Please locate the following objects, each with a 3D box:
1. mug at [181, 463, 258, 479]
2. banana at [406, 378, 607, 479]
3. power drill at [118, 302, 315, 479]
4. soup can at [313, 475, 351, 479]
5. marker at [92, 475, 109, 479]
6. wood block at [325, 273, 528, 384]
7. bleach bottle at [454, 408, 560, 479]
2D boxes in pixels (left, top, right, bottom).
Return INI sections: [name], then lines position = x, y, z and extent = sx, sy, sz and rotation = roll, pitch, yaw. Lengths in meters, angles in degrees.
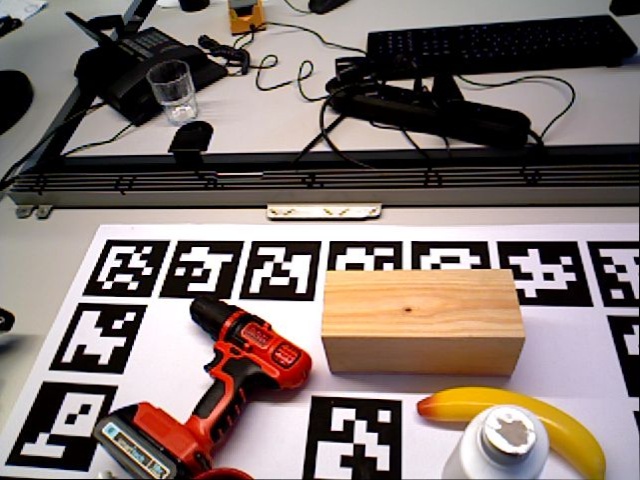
[mug]
position = -0.093, 0.265, 0.483
extent = 0.115, 0.083, 0.093
rotation = -37, 56, -19
[banana]
position = 0.187, 0.177, 0.541
extent = 0.198, 0.039, 0.073
rotation = 14, 67, 17
[power drill]
position = -0.124, 0.167, 0.597
extent = 0.185, 0.058, 0.183
rotation = 27, 57, 24
[soup can]
position = 0.013, 0.252, 0.457
extent = 0.068, 0.104, 0.067
rotation = -3, 45, 2
[marker]
position = -0.205, 0.289, 0.527
extent = 0.019, 0.020, 0.120
rotation = -24, 51, -10
[wood block]
position = 0.114, 0.095, 0.594
extent = 0.206, 0.092, 0.088
rotation = 0, 50, 9
[bleach bottle]
position = 0.132, 0.184, 0.404
extent = 0.068, 0.255, 0.100
rotation = 25, 55, 27
